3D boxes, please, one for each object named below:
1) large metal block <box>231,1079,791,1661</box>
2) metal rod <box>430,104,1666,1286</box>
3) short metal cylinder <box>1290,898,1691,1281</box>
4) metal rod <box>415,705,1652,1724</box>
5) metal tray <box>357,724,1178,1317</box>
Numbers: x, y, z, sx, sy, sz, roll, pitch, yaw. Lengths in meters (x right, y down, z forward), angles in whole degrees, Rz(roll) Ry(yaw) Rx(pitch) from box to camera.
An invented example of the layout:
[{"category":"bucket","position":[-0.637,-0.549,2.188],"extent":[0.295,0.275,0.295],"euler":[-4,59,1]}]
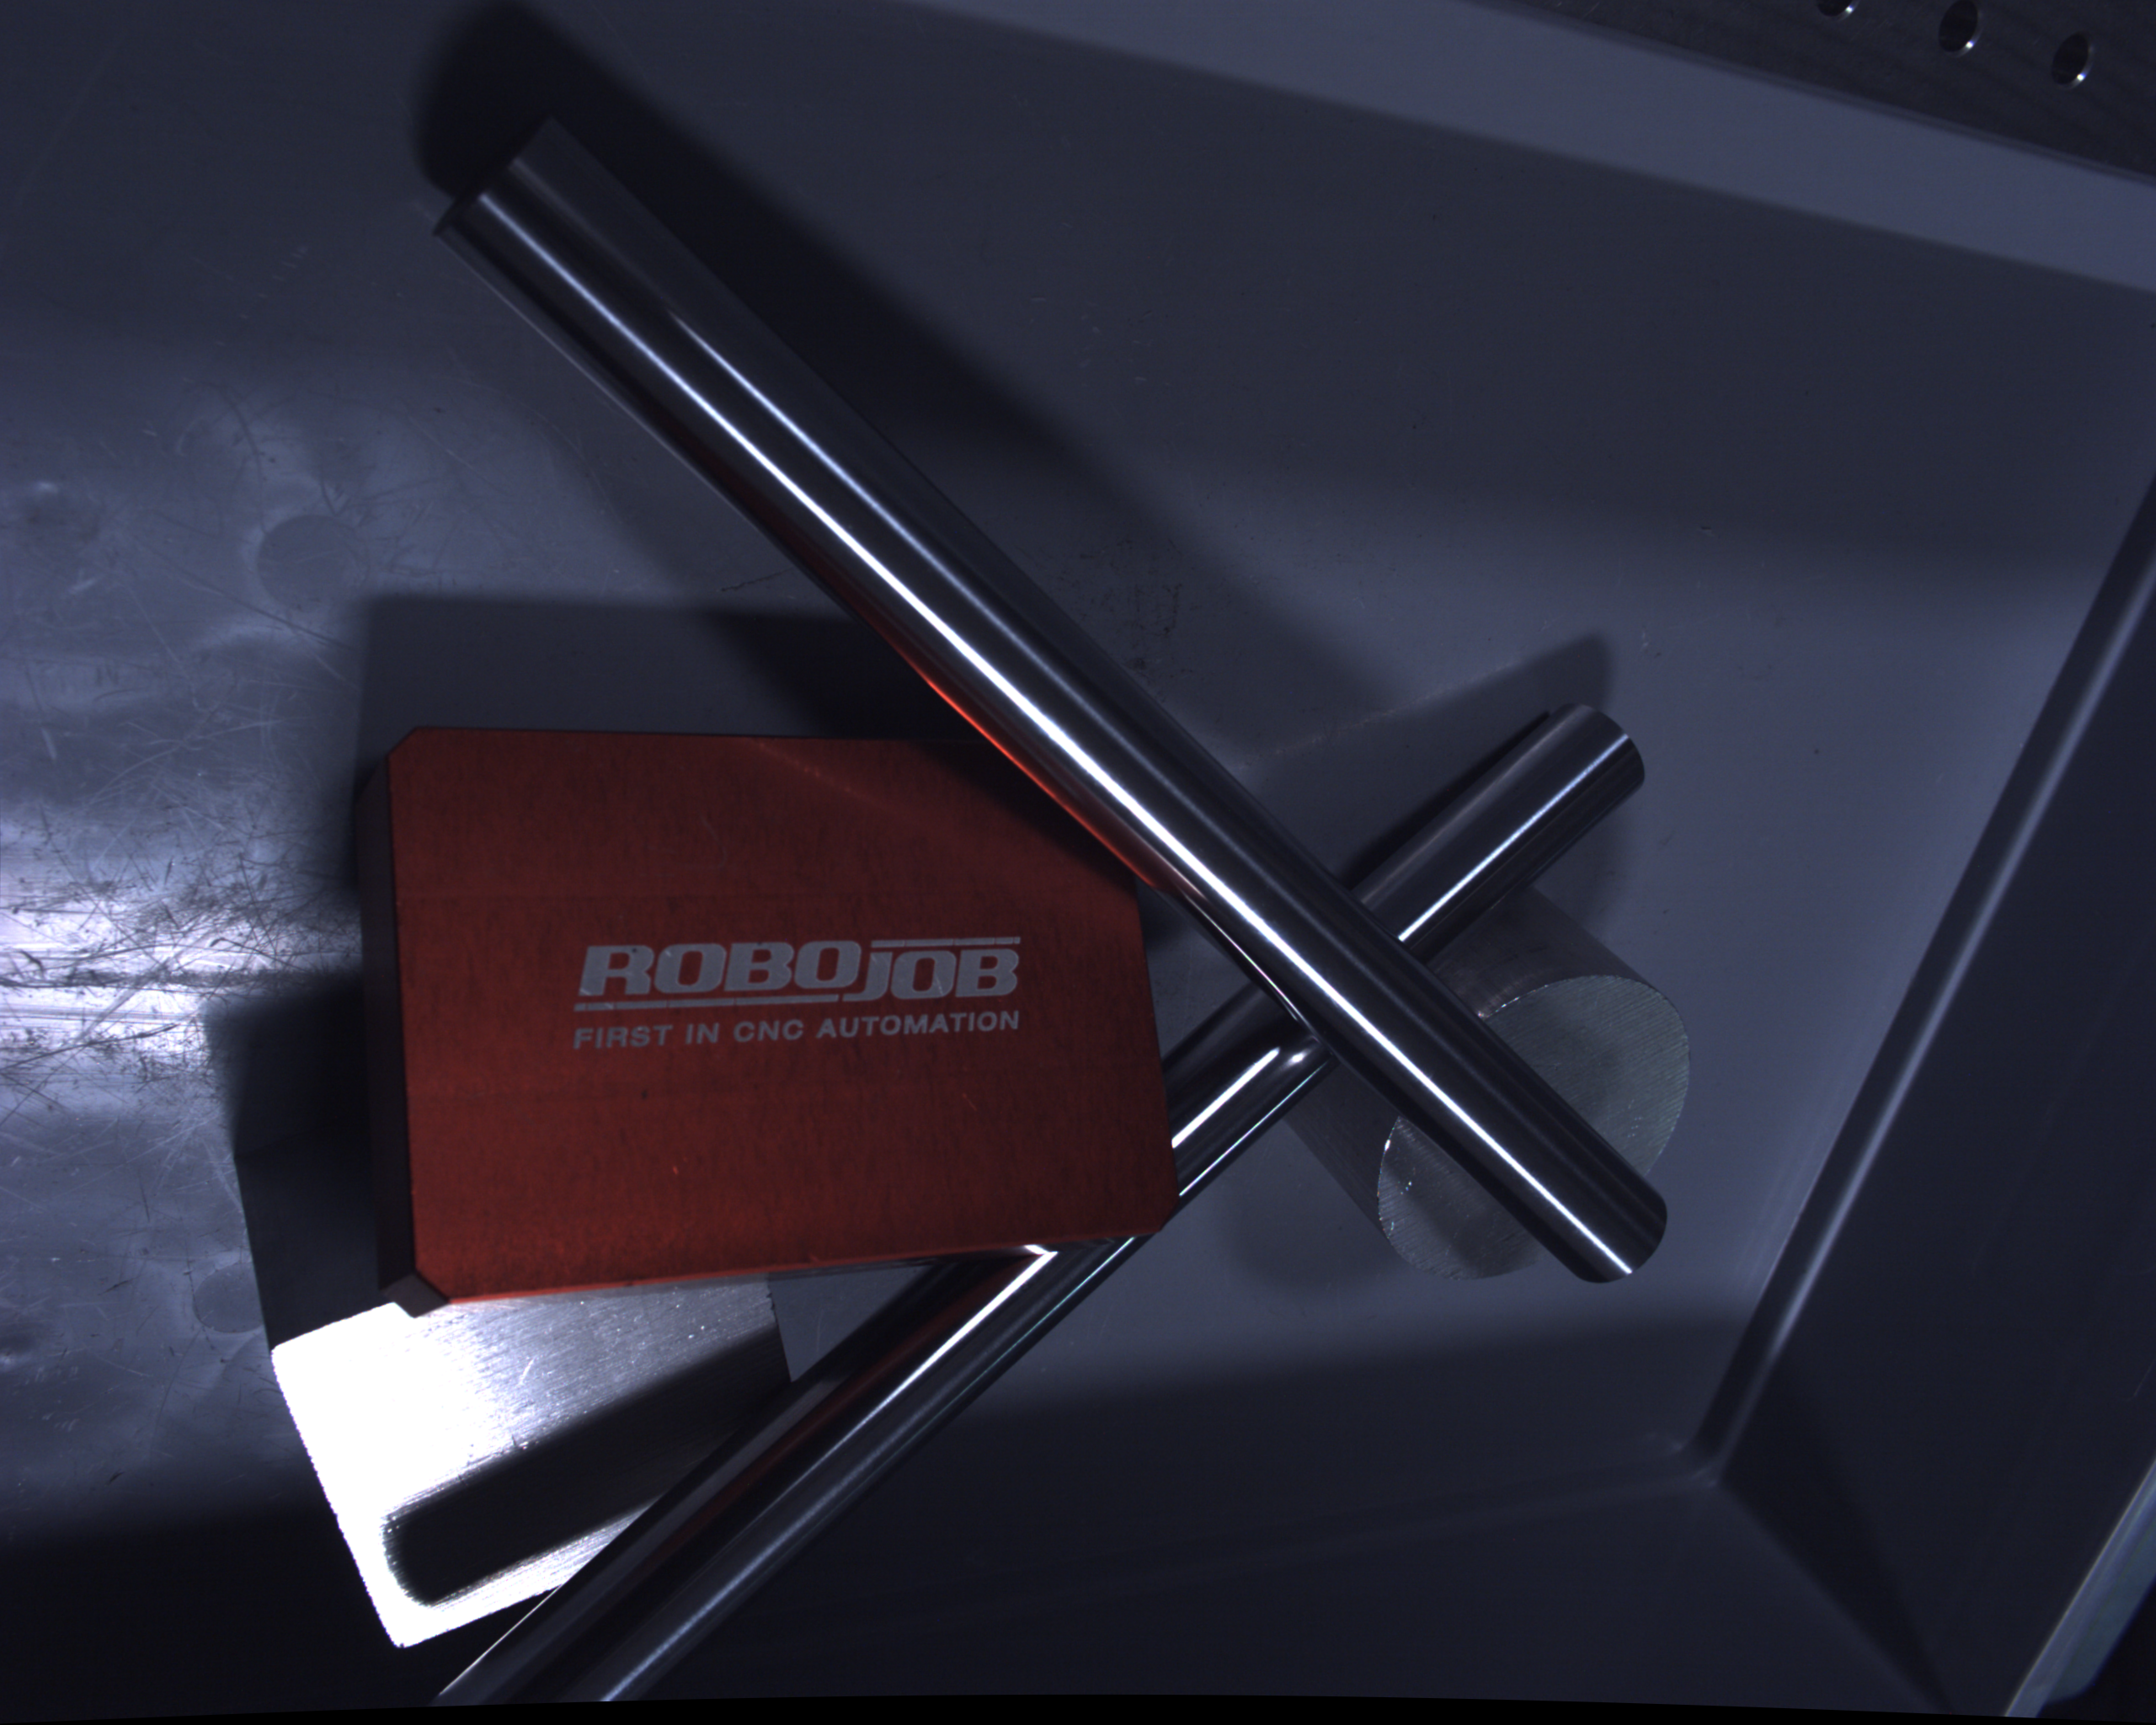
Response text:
[{"category":"large metal block","position":[-0.101,0.088,0.387],"extent":[0.081,0.050,0.079],"euler":[-18,126,-19]},{"category":"metal rod","position":[0.014,-0.011,0.371],"extent":[0.025,0.025,0.300],"euler":[-46,117,4]},{"category":"short metal cylinder","position":[0.089,0.047,0.469],"extent":[0.081,0.050,0.079],"euler":[-14,125,-21]},{"category":"metal rod","position":[0.005,0.066,0.404],"extent":[0.301,0.025,0.025],"euler":[-39,131,-20]},{"category":"metal tray","position":[-0.051,0.026,0.357],"extent":[0.131,0.030,0.090],"euler":[1,74,-28]}]
